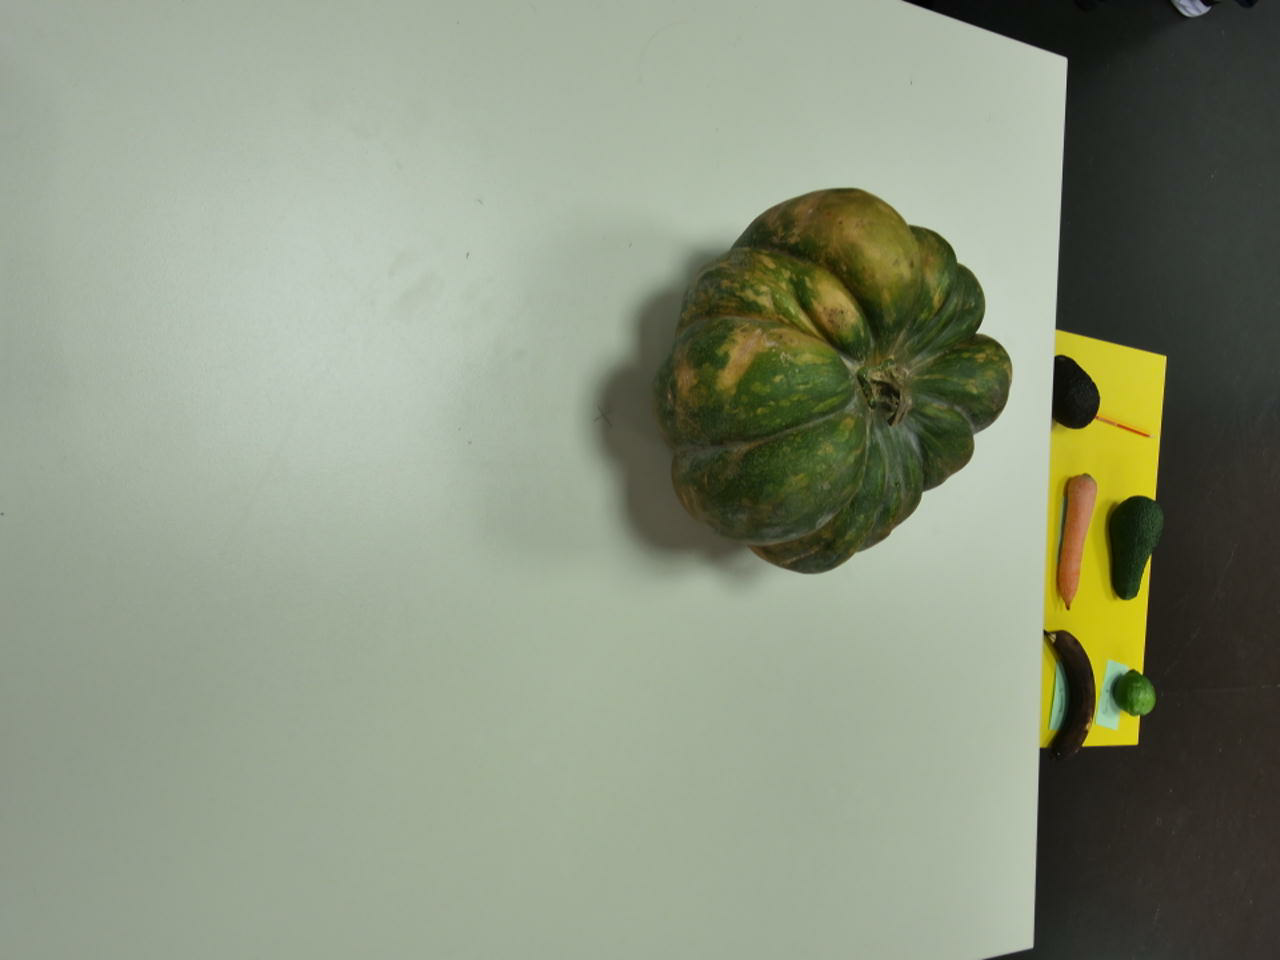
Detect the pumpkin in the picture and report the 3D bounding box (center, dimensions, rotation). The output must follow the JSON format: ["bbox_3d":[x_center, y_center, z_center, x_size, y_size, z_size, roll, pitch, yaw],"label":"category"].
[{"bbox_3d":[0.132,-0.066,0.691,0.237,0.173,0.270,44,71,-22],"label":"pumpkin"}]
